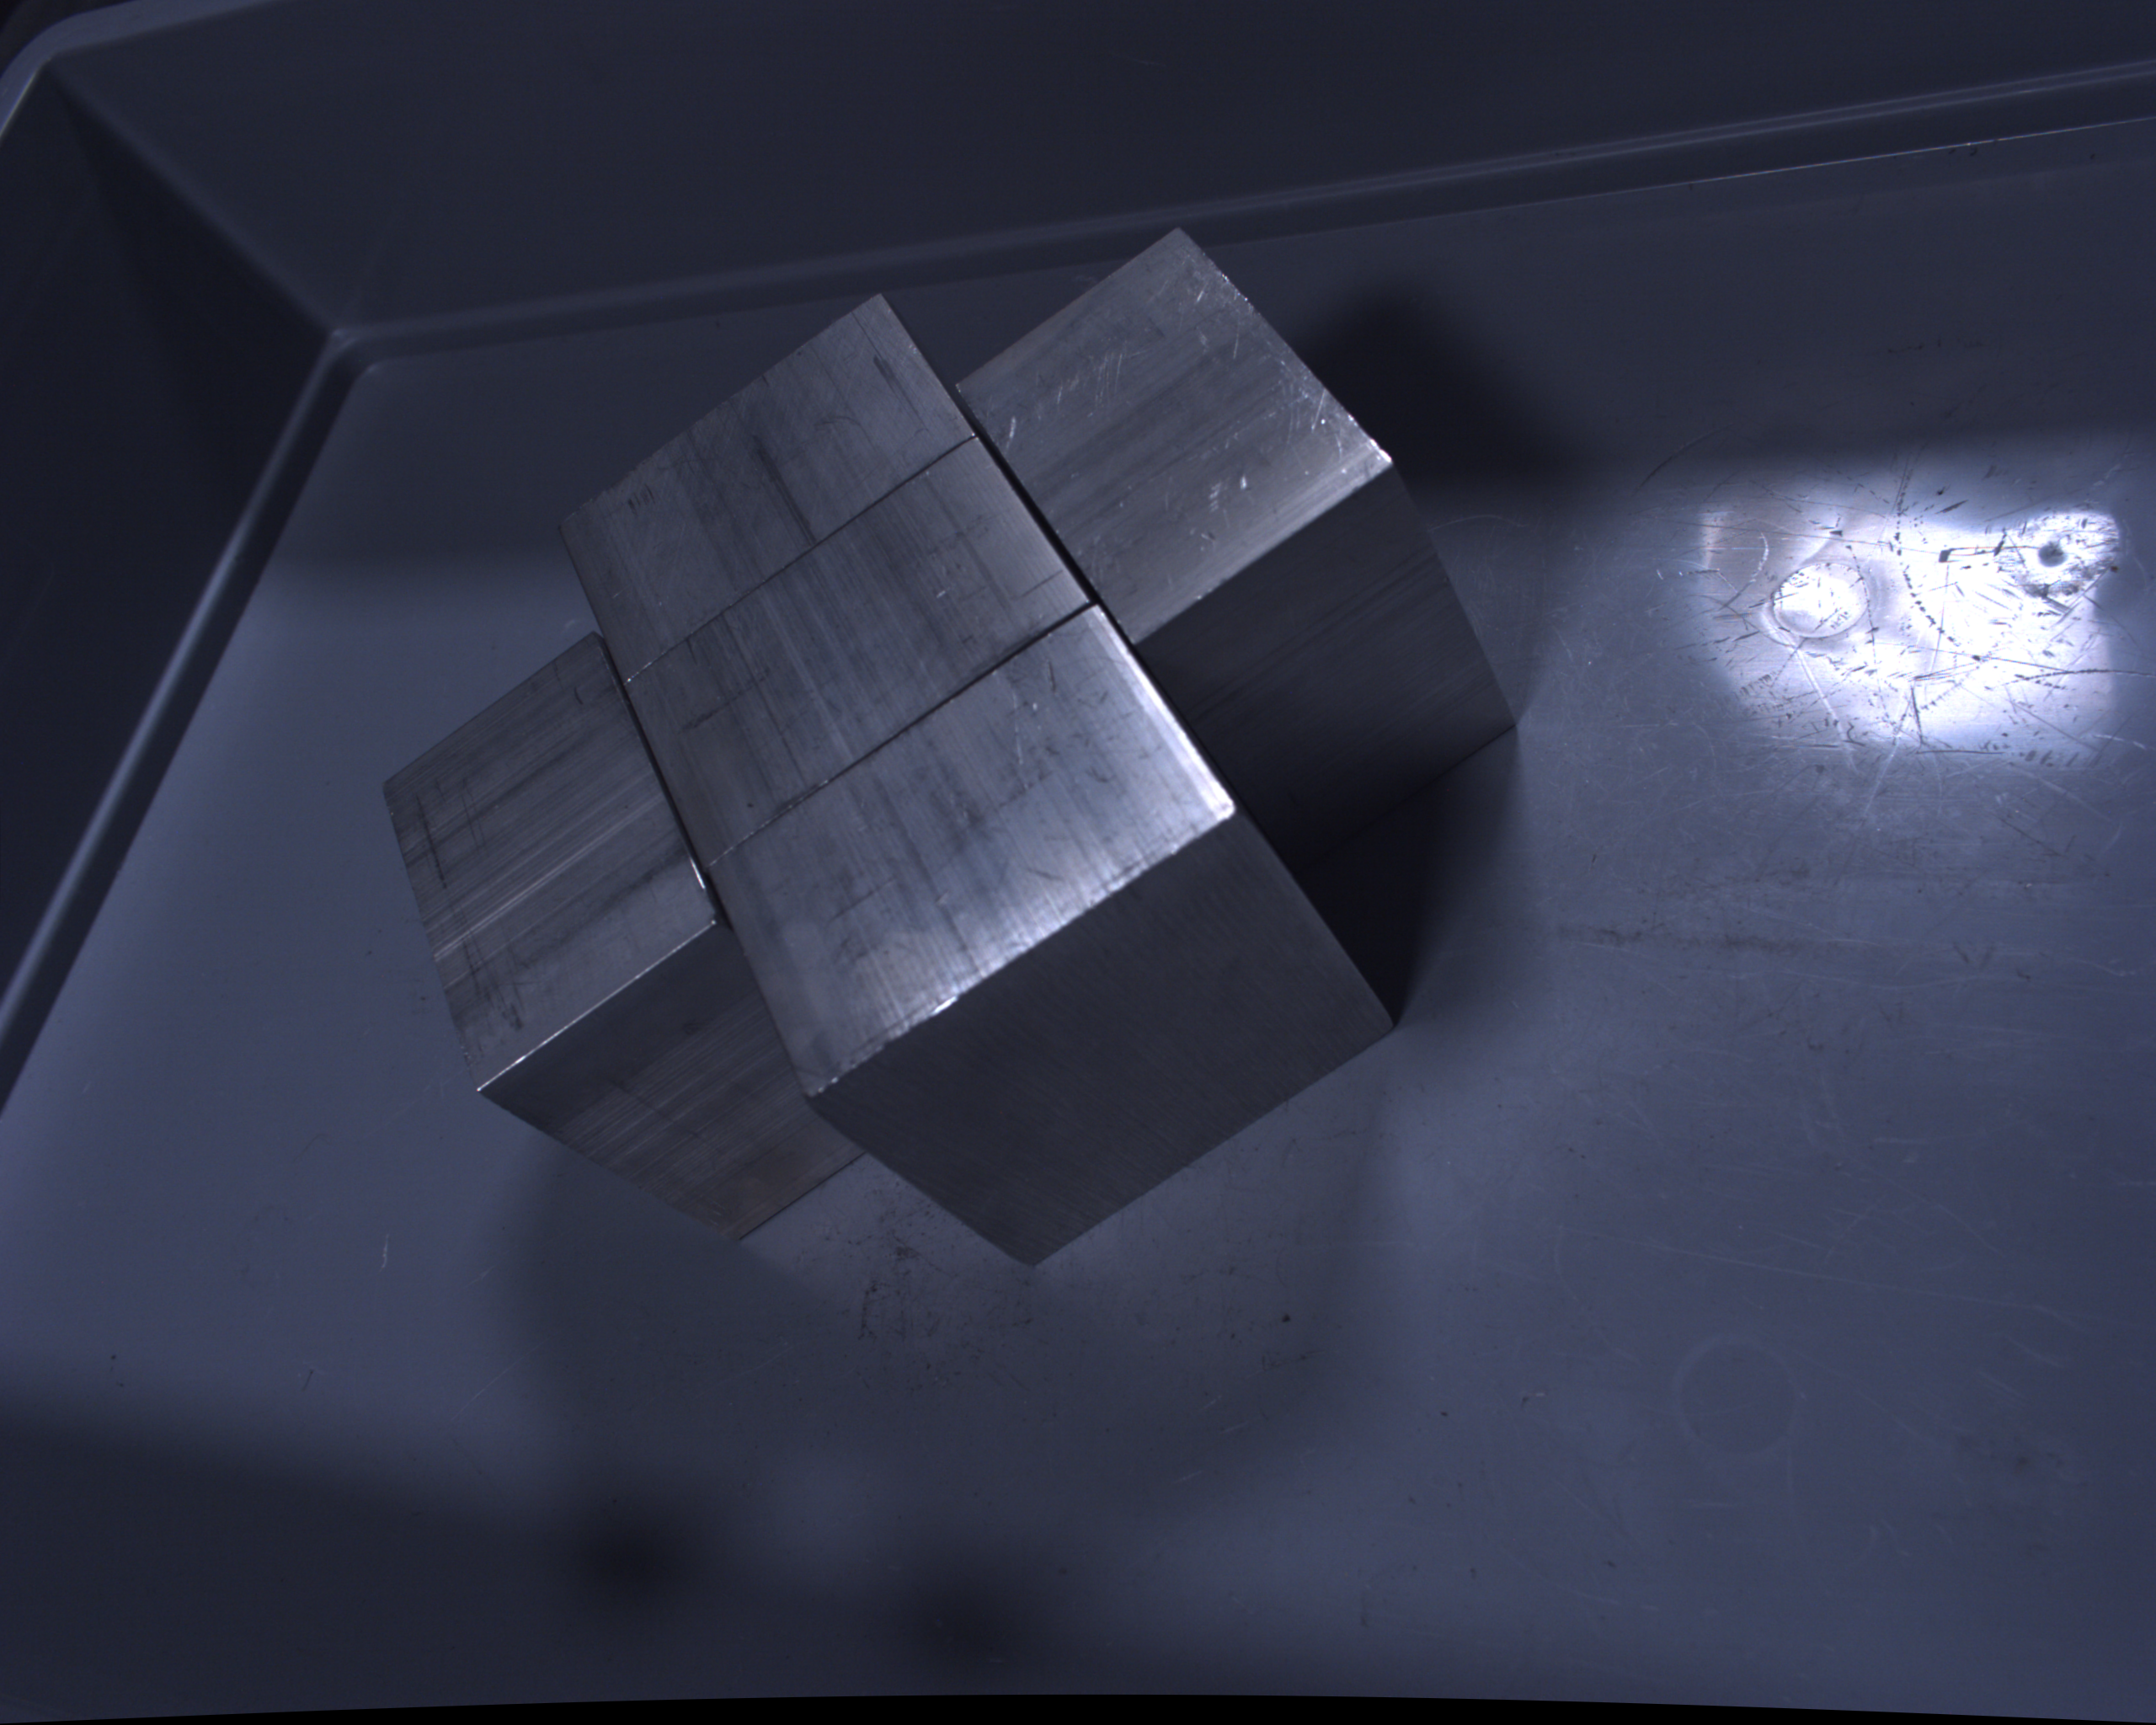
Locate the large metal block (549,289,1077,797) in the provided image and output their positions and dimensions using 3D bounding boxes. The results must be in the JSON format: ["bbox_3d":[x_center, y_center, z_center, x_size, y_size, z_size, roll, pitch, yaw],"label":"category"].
[{"bbox_3d":[-0.044,-0.053,0.423,0.080,0.080,0.050,-35,52,5],"label":"large metal block"}]

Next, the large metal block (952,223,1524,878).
[{"bbox_3d":[0.030,-0.057,0.387,0.050,0.080,0.080,-35,52,5],"label":"large metal block"}]

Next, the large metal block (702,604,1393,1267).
[{"bbox_3d":[-0.003,0.016,0.361,0.080,0.080,0.050,-35,52,5],"label":"large metal block"}]

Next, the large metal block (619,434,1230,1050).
[{"bbox_3d":[-0.024,-0.019,0.392,0.080,0.080,0.050,-35,52,5],"label":"large metal block"}]

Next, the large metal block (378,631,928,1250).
[{"bbox_3d":[-0.079,0.016,0.399,0.050,0.080,0.080,-35,52,5],"label":"large metal block"}]
